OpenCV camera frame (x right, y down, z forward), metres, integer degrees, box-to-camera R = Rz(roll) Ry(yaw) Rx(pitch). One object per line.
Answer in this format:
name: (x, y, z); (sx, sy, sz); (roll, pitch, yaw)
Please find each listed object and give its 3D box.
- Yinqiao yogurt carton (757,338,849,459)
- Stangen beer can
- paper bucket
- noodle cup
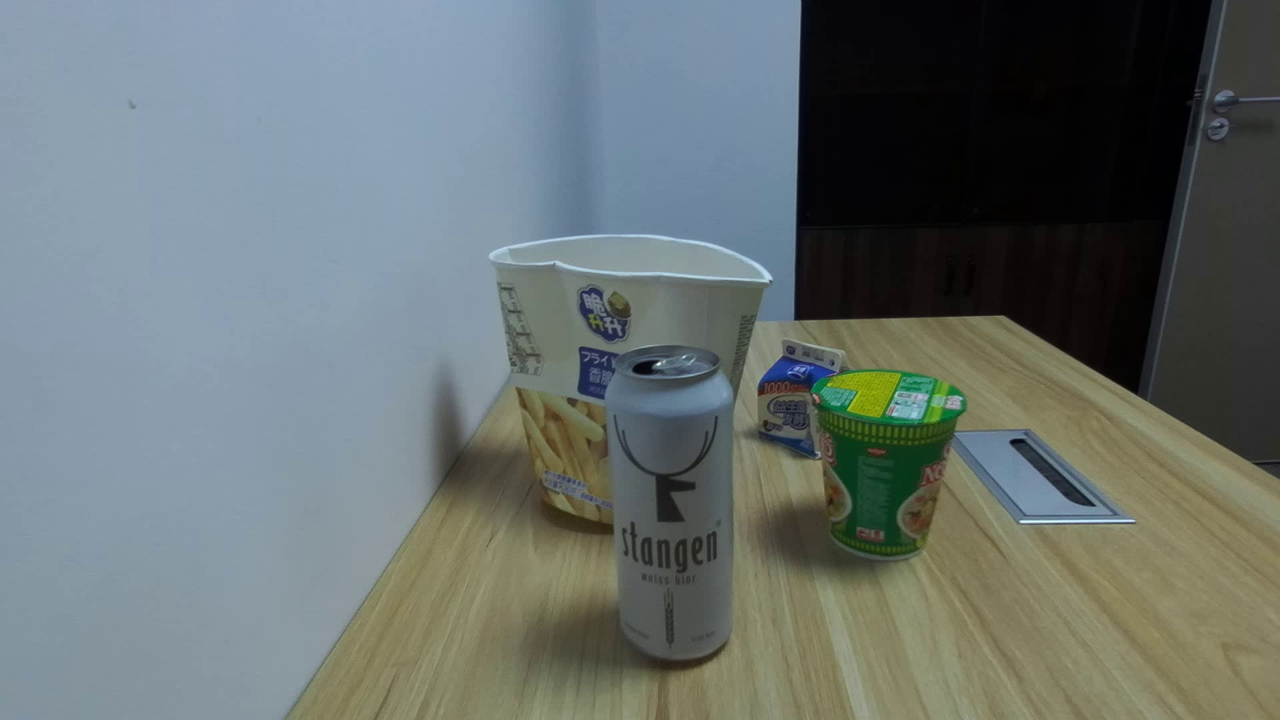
Yinqiao yogurt carton: (0.154, 0.029, 0.637); (0.071, 0.094, 0.077); (-23, 26, -31)
Stangen beer can: (0.018, 0.079, 0.387); (0.067, 0.171, 0.067); (-2, 19, 1)
paper bucket: (-0.011, 0.011, 0.546); (0.218, 0.199, 0.147); (-1, 20, 7)
noodle cup: (0.166, 0.072, 0.483); (0.097, 0.110, 0.097); (-3, 19, 2)
